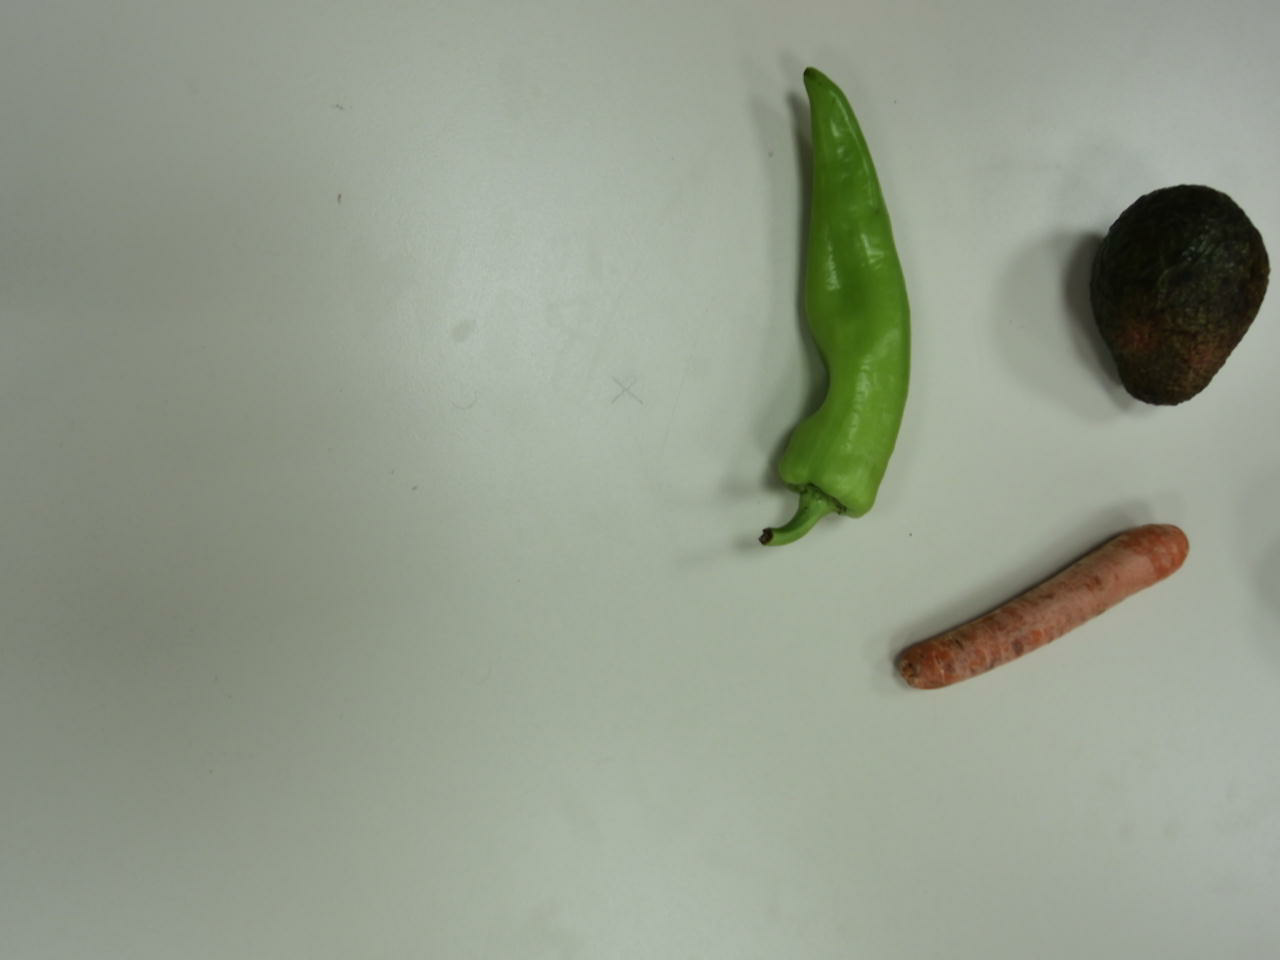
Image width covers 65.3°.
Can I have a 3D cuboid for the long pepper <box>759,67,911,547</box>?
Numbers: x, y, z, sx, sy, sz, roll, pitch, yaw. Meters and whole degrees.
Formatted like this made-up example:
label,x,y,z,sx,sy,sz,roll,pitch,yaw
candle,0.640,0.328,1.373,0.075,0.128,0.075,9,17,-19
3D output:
label,x,y,z,sx,sy,sz,roll,pitch,yaw
long pepper,0.089,-0.070,0.432,0.065,0.045,0.204,7,89,-12
